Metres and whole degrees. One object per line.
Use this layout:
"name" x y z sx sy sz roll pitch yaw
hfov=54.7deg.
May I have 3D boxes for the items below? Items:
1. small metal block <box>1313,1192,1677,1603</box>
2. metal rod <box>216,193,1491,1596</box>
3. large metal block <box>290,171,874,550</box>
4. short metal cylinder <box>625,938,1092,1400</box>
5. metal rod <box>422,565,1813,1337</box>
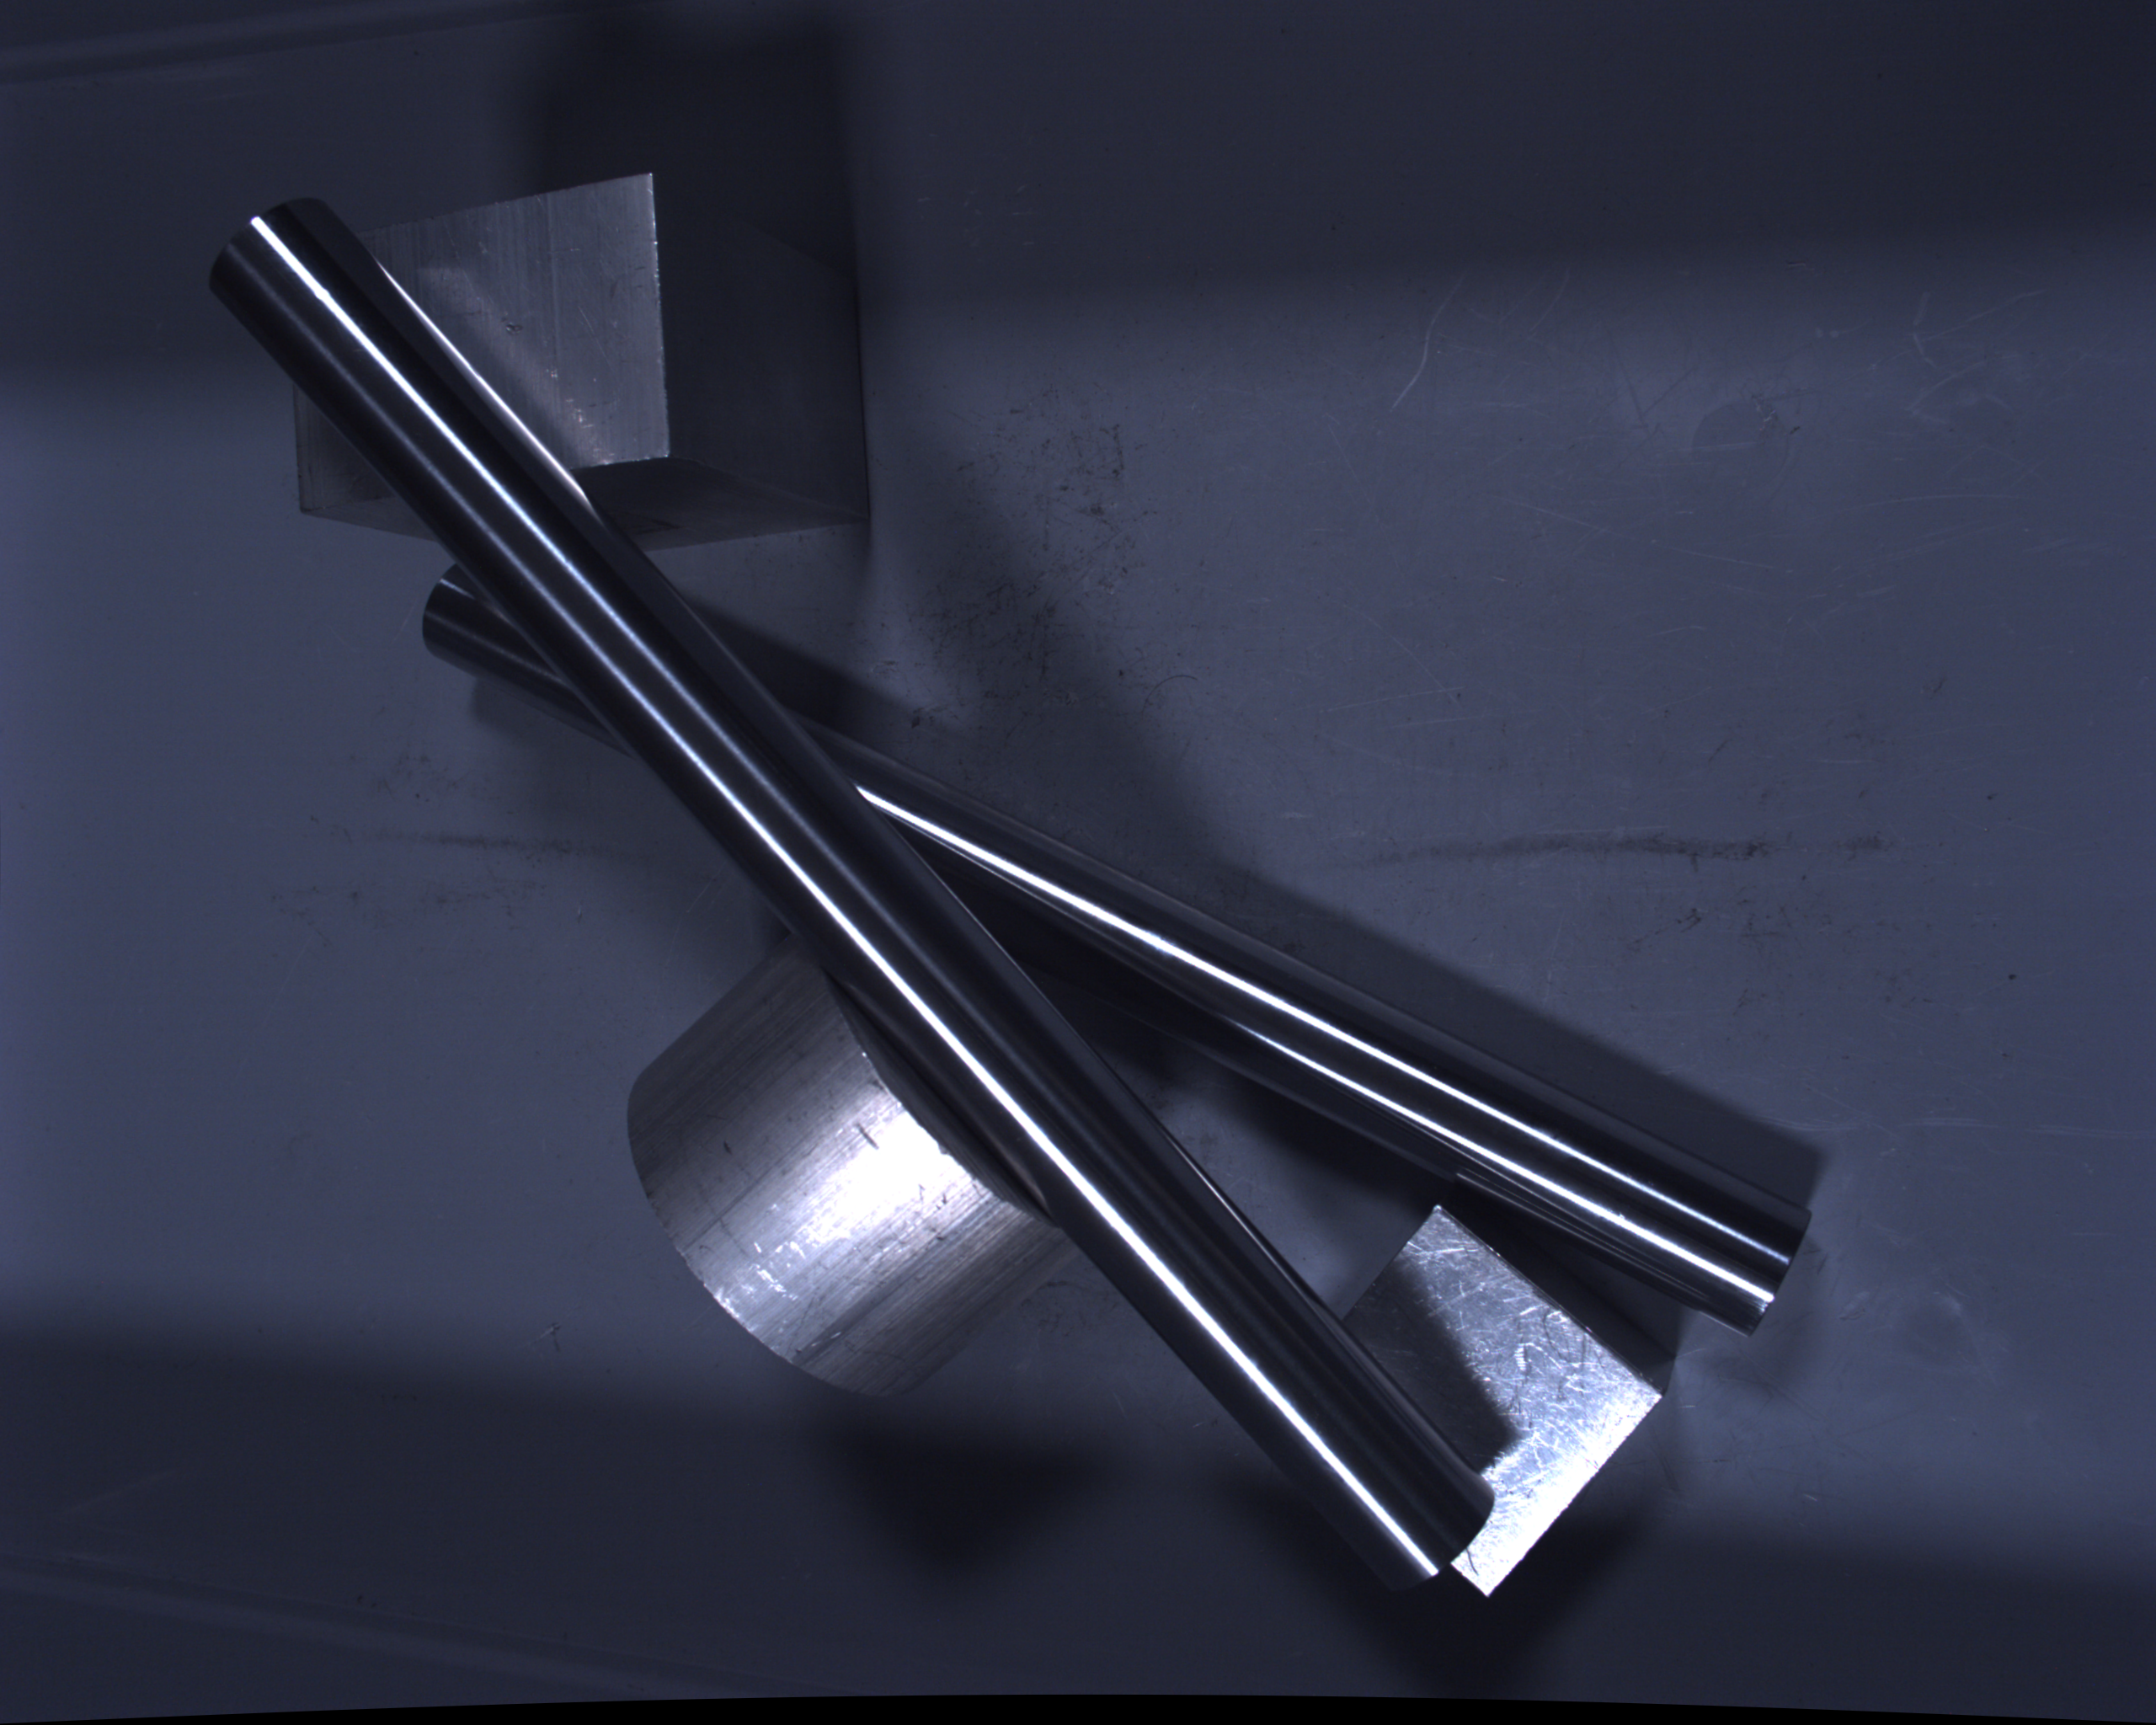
"small metal block" 0.073 0.096 0.383 0.050 0.025 0.050 40 102 15
"metal rod" -0.038 0.005 0.360 0.025 0.025 0.300 -42 90 15
"large metal block" -0.096 -0.093 0.413 0.080 0.080 0.050 -4 89 19
"short metal cylinder" -0.037 0.052 0.391 0.050 0.080 0.080 -42 77 15
"metal rod" -0.005 0.008 0.410 0.301 0.025 0.025 26 99 17
